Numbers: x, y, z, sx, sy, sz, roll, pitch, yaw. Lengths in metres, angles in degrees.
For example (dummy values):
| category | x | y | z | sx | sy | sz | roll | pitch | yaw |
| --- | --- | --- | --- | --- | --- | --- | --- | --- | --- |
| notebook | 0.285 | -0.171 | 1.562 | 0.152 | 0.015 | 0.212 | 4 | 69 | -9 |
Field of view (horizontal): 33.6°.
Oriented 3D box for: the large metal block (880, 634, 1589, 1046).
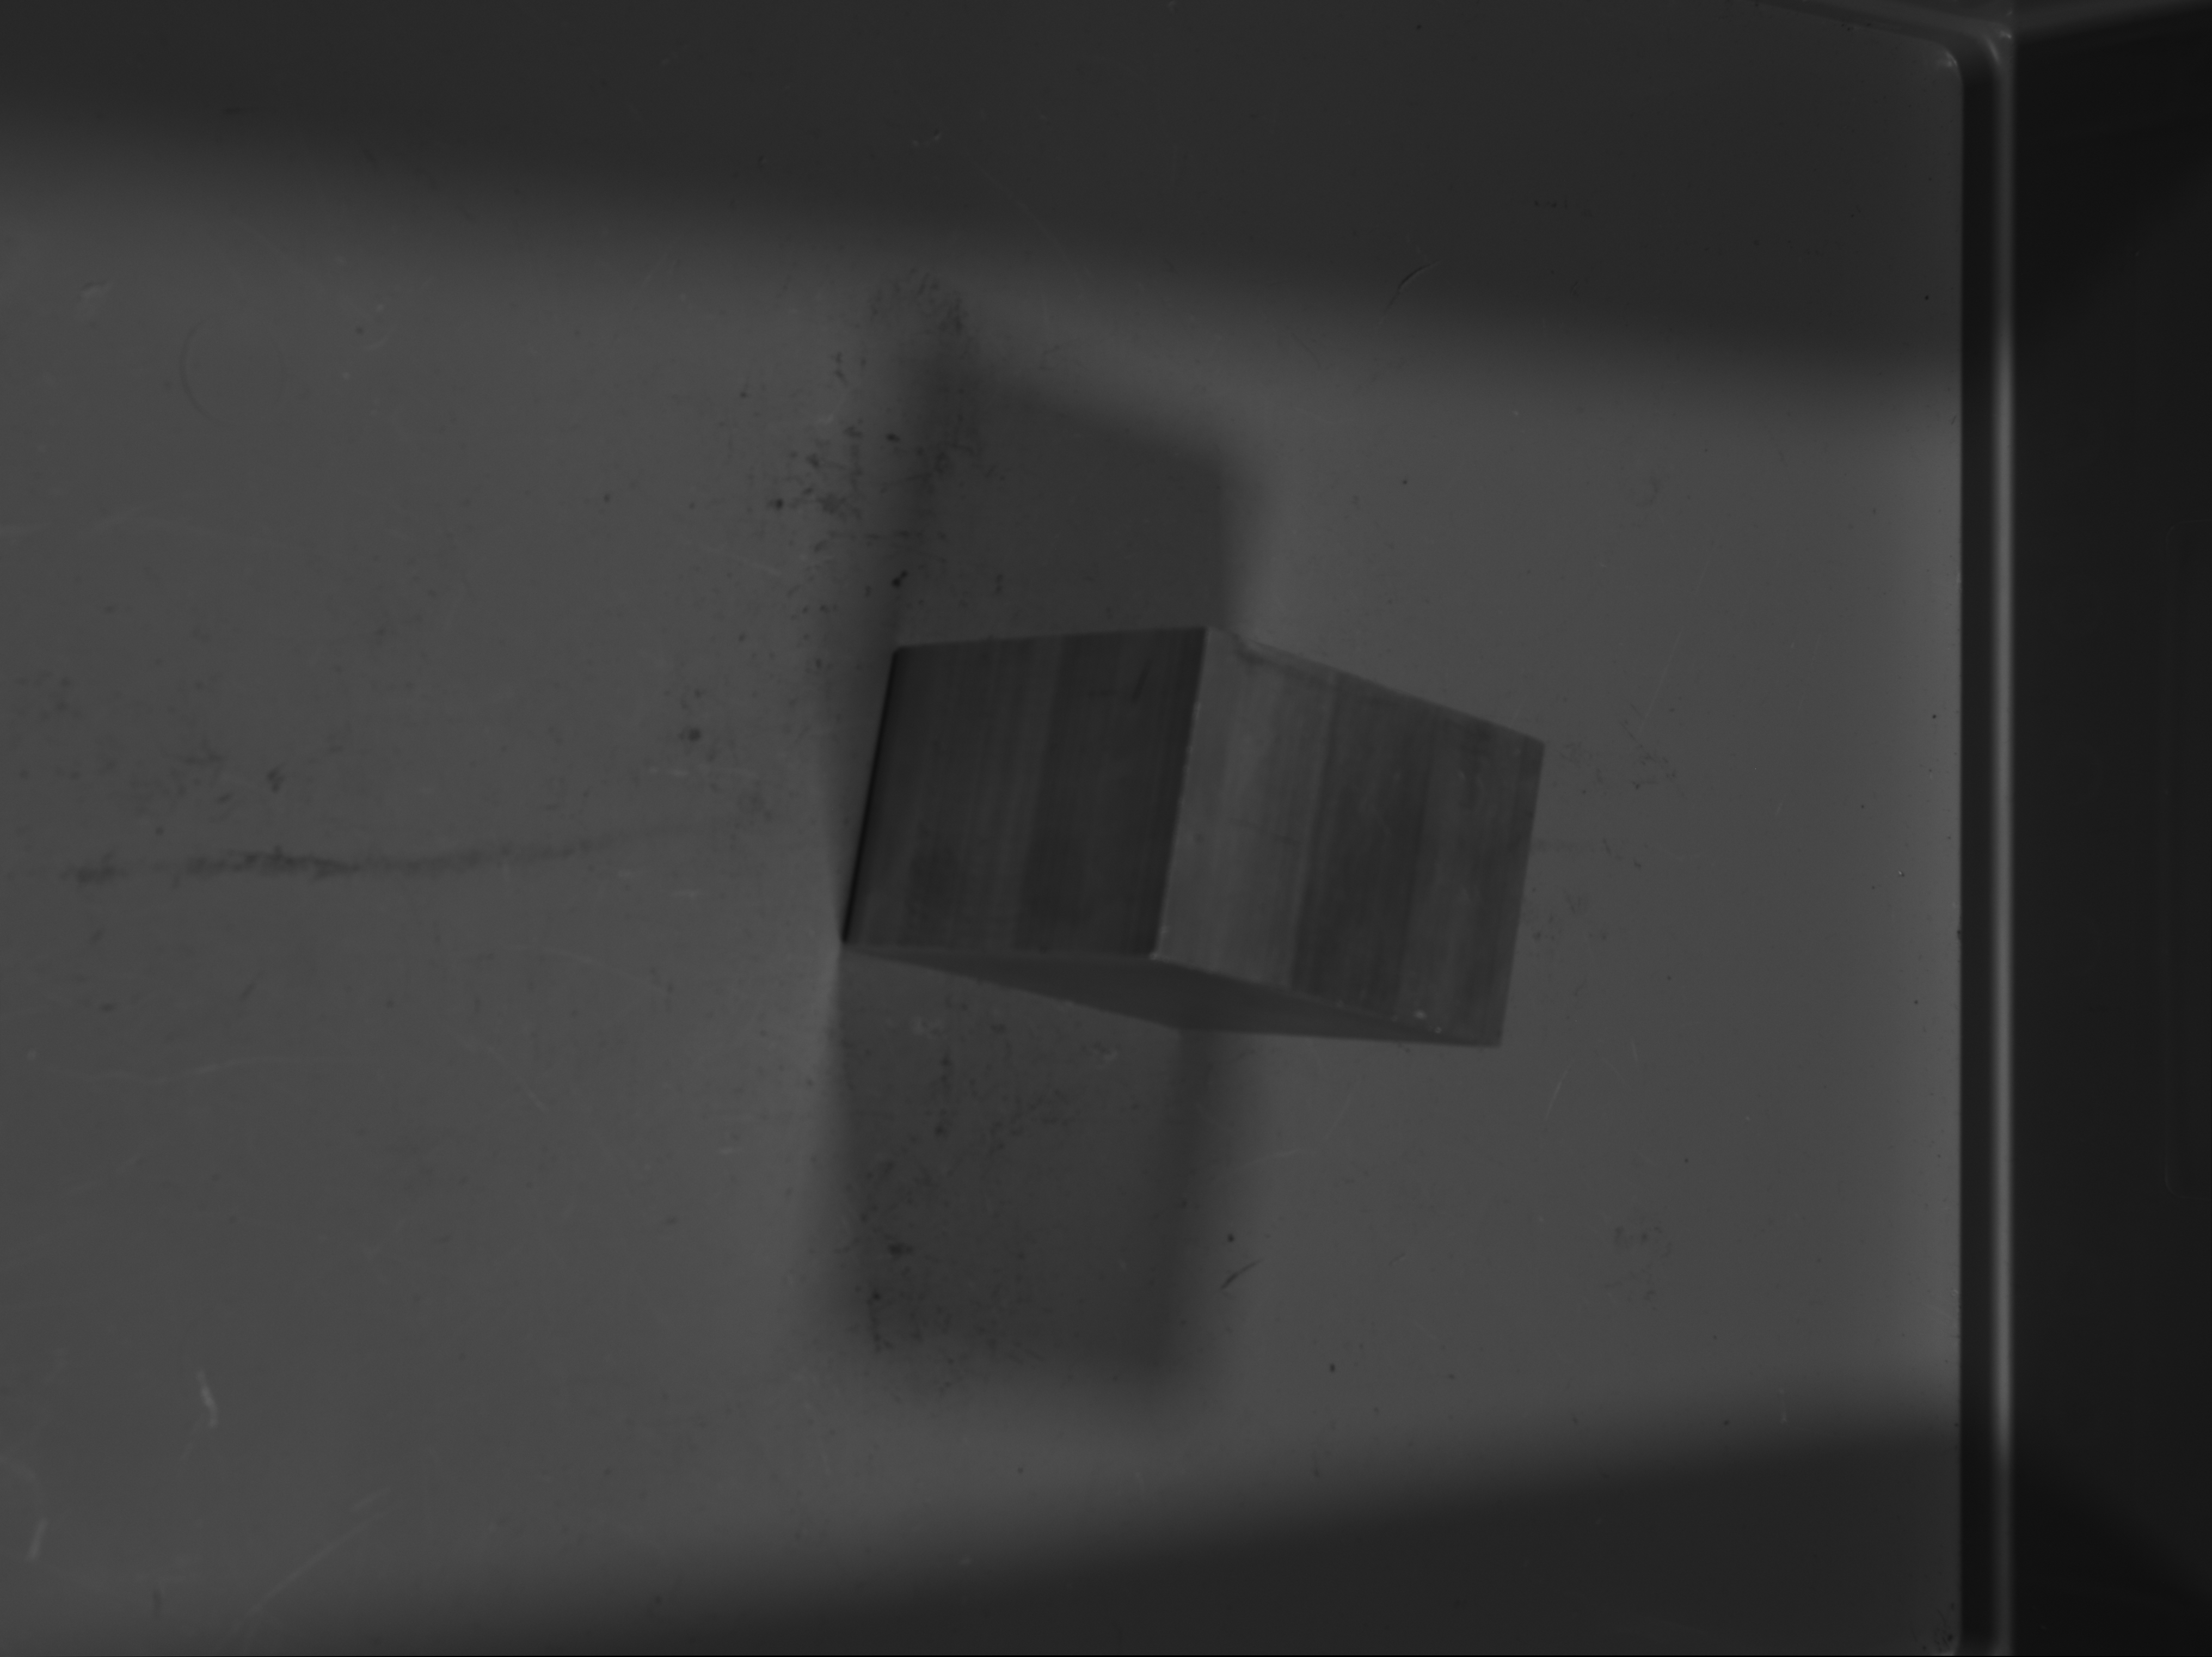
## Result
| category | x | y | z | sx | sy | sz | roll | pitch | yaw |
| --- | --- | --- | --- | --- | --- | --- | --- | --- | --- |
| large metal block | 0.021 | 0.003 | 0.617 | 0.080 | 0.080 | 0.050 | 16 | 80 | -39 |
